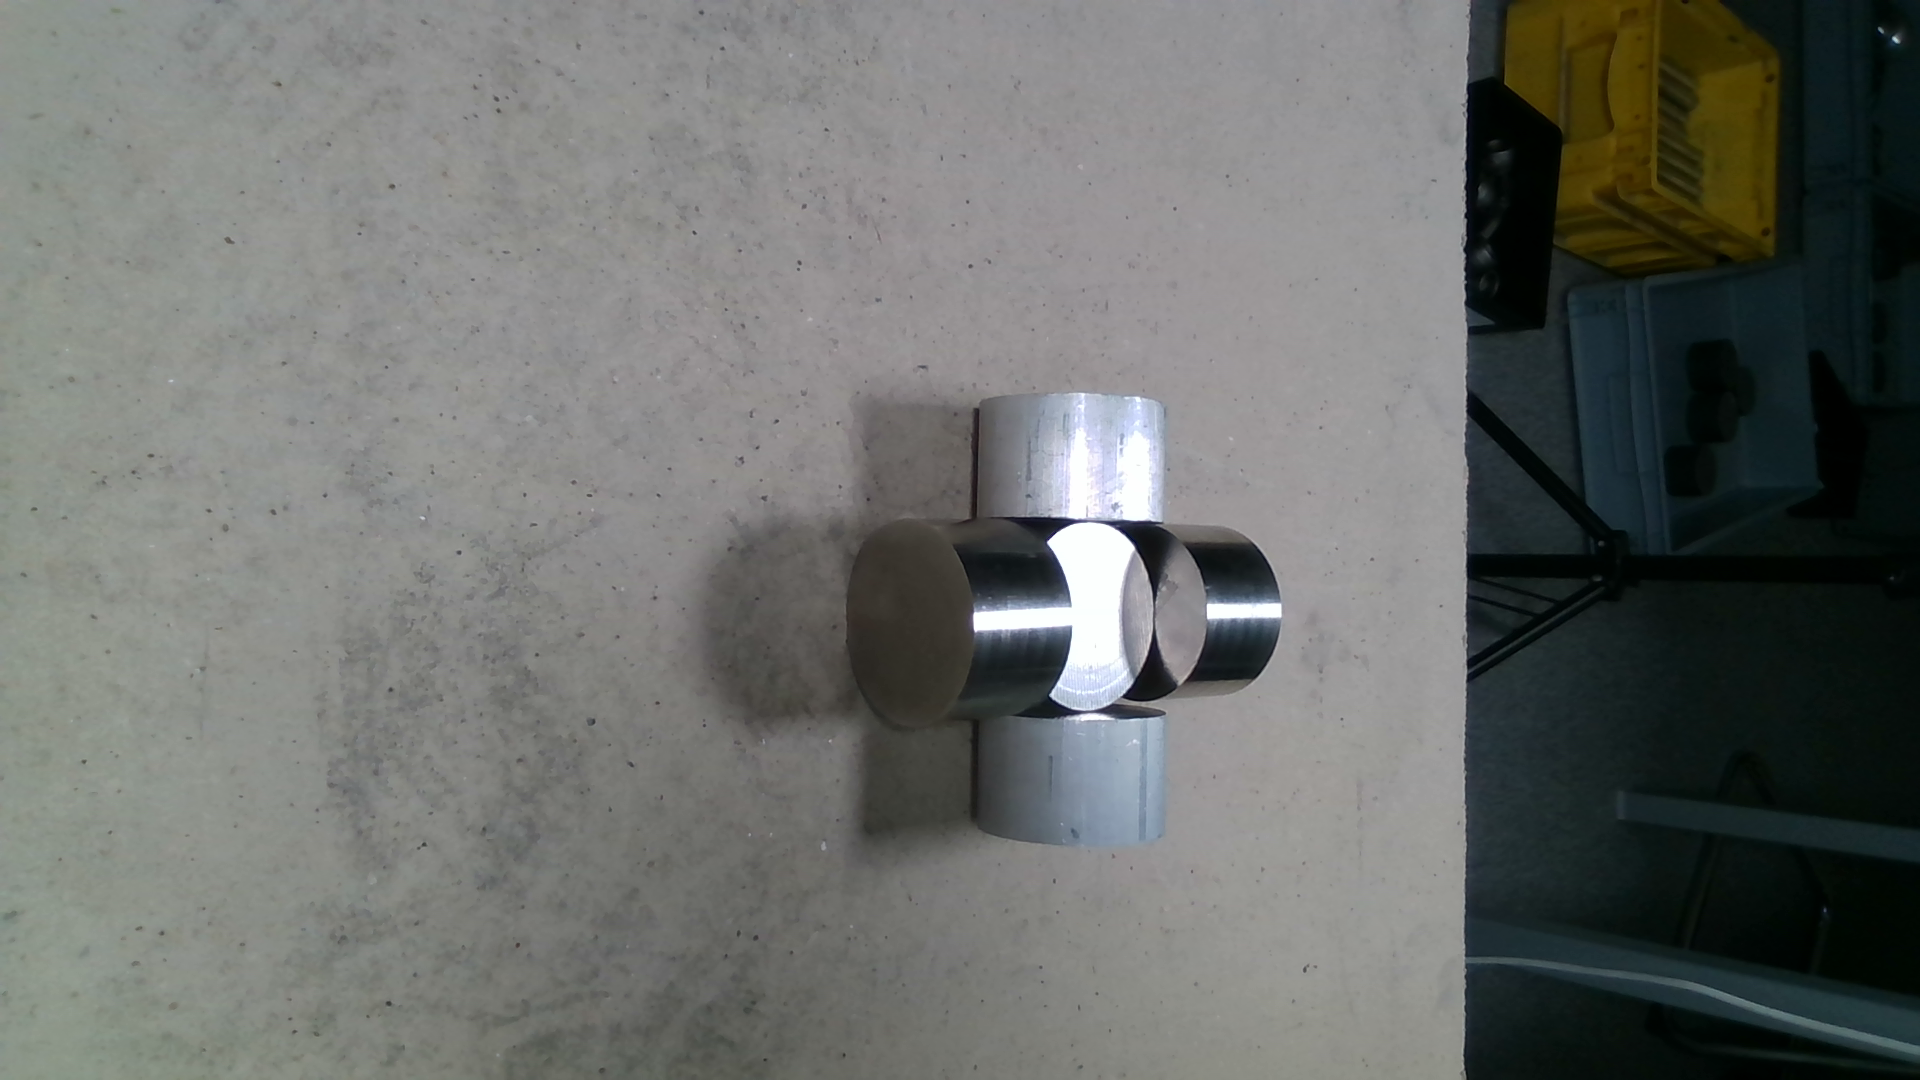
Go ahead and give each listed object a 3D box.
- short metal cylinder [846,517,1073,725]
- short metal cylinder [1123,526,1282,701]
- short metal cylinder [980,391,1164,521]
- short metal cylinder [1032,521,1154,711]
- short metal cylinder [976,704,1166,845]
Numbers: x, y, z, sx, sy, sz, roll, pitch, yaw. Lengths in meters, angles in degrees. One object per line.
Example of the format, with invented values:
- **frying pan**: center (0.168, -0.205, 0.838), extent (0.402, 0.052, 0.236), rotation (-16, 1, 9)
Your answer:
- **short metal cylinder**: center (-0.001, 0.031, 0.546), extent (0.050, 0.080, 0.080), rotation (0, 90, -41)
- **short metal cylinder**: center (0.099, 0.032, 0.630), extent (0.050, 0.080, 0.080), rotation (2, 89, -40)
- **short metal cylinder**: center (0.047, -0.033, 0.588), extent (0.080, 0.080, 0.050), rotation (3, 88, -40)
- **short metal cylinder**: center (0.039, 0.032, 0.600), extent (0.080, 0.050, 0.080), rotation (0, 90, -40)
- **short metal cylinder**: center (0.047, 0.097, 0.588), extent (0.080, 0.080, 0.050), rotation (3, 88, -40)
